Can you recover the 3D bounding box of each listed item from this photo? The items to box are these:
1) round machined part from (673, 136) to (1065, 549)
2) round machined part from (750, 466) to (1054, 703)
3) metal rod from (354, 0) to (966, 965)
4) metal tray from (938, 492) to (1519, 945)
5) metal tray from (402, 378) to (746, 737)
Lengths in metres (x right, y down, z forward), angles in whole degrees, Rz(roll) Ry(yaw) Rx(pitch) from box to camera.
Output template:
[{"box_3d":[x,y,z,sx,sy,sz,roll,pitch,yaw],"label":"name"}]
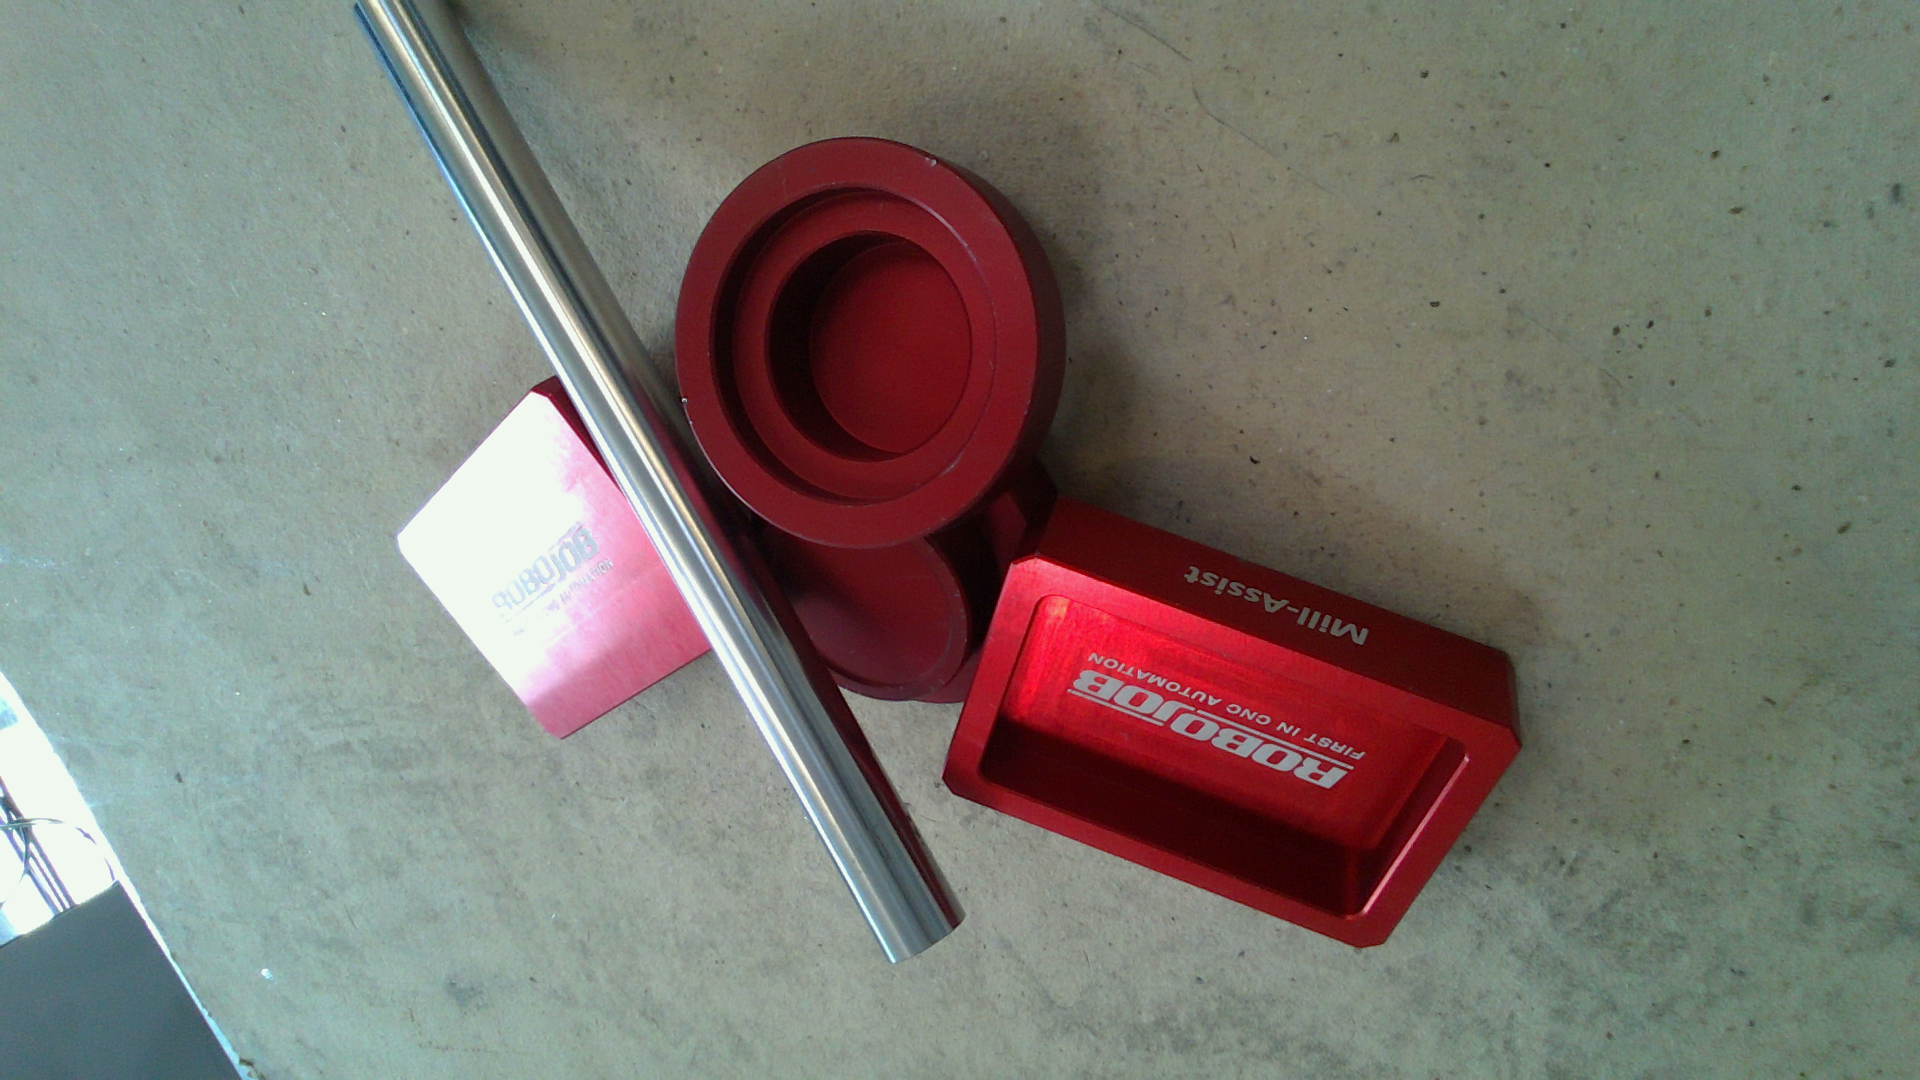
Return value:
[{"box_3d":[-0.020,-0.049,0.349,0.098,0.042,0.098,3,98,22],"label":"round machined part"},{"box_3d":[-0.020,0.007,0.398,0.098,0.042,0.098,13,124,21],"label":"round machined part"},{"box_3d":[-0.083,-0.020,0.382,0.025,0.025,0.300,-31,88,38],"label":"metal rod"},{"box_3d":[0.068,0.050,0.370,0.130,0.030,0.090,20,127,4],"label":"metal tray"},{"box_3d":[-0.122,0.006,0.445,0.129,0.030,0.090,-29,100,47],"label":"metal tray"}]
